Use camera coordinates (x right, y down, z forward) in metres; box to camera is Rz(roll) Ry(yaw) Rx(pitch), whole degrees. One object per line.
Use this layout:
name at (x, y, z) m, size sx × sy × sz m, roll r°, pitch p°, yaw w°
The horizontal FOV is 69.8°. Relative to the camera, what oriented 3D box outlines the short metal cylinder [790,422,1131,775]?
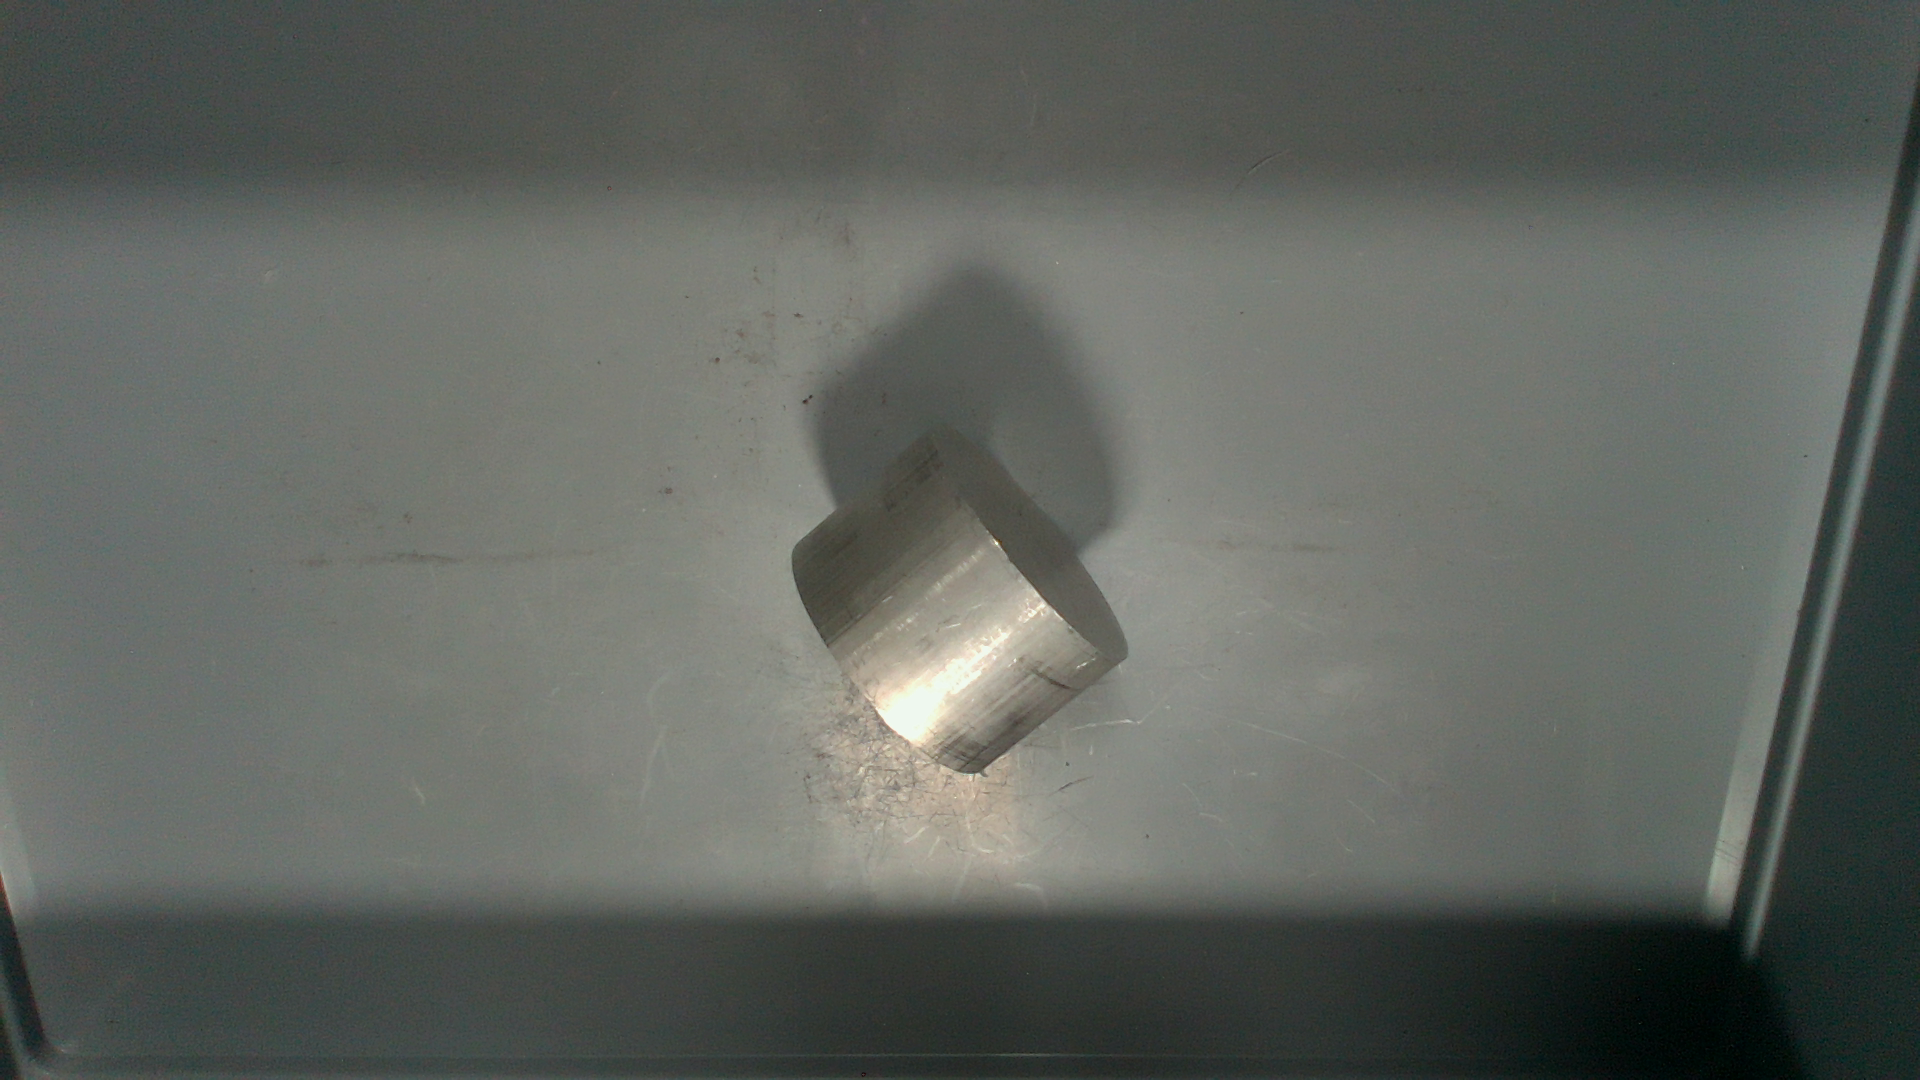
short metal cylinder at (0.001, 0.015, 0.368) m, size 0.050 × 0.080 × 0.080 m, roll -40°, pitch 106°, yaw 13°
